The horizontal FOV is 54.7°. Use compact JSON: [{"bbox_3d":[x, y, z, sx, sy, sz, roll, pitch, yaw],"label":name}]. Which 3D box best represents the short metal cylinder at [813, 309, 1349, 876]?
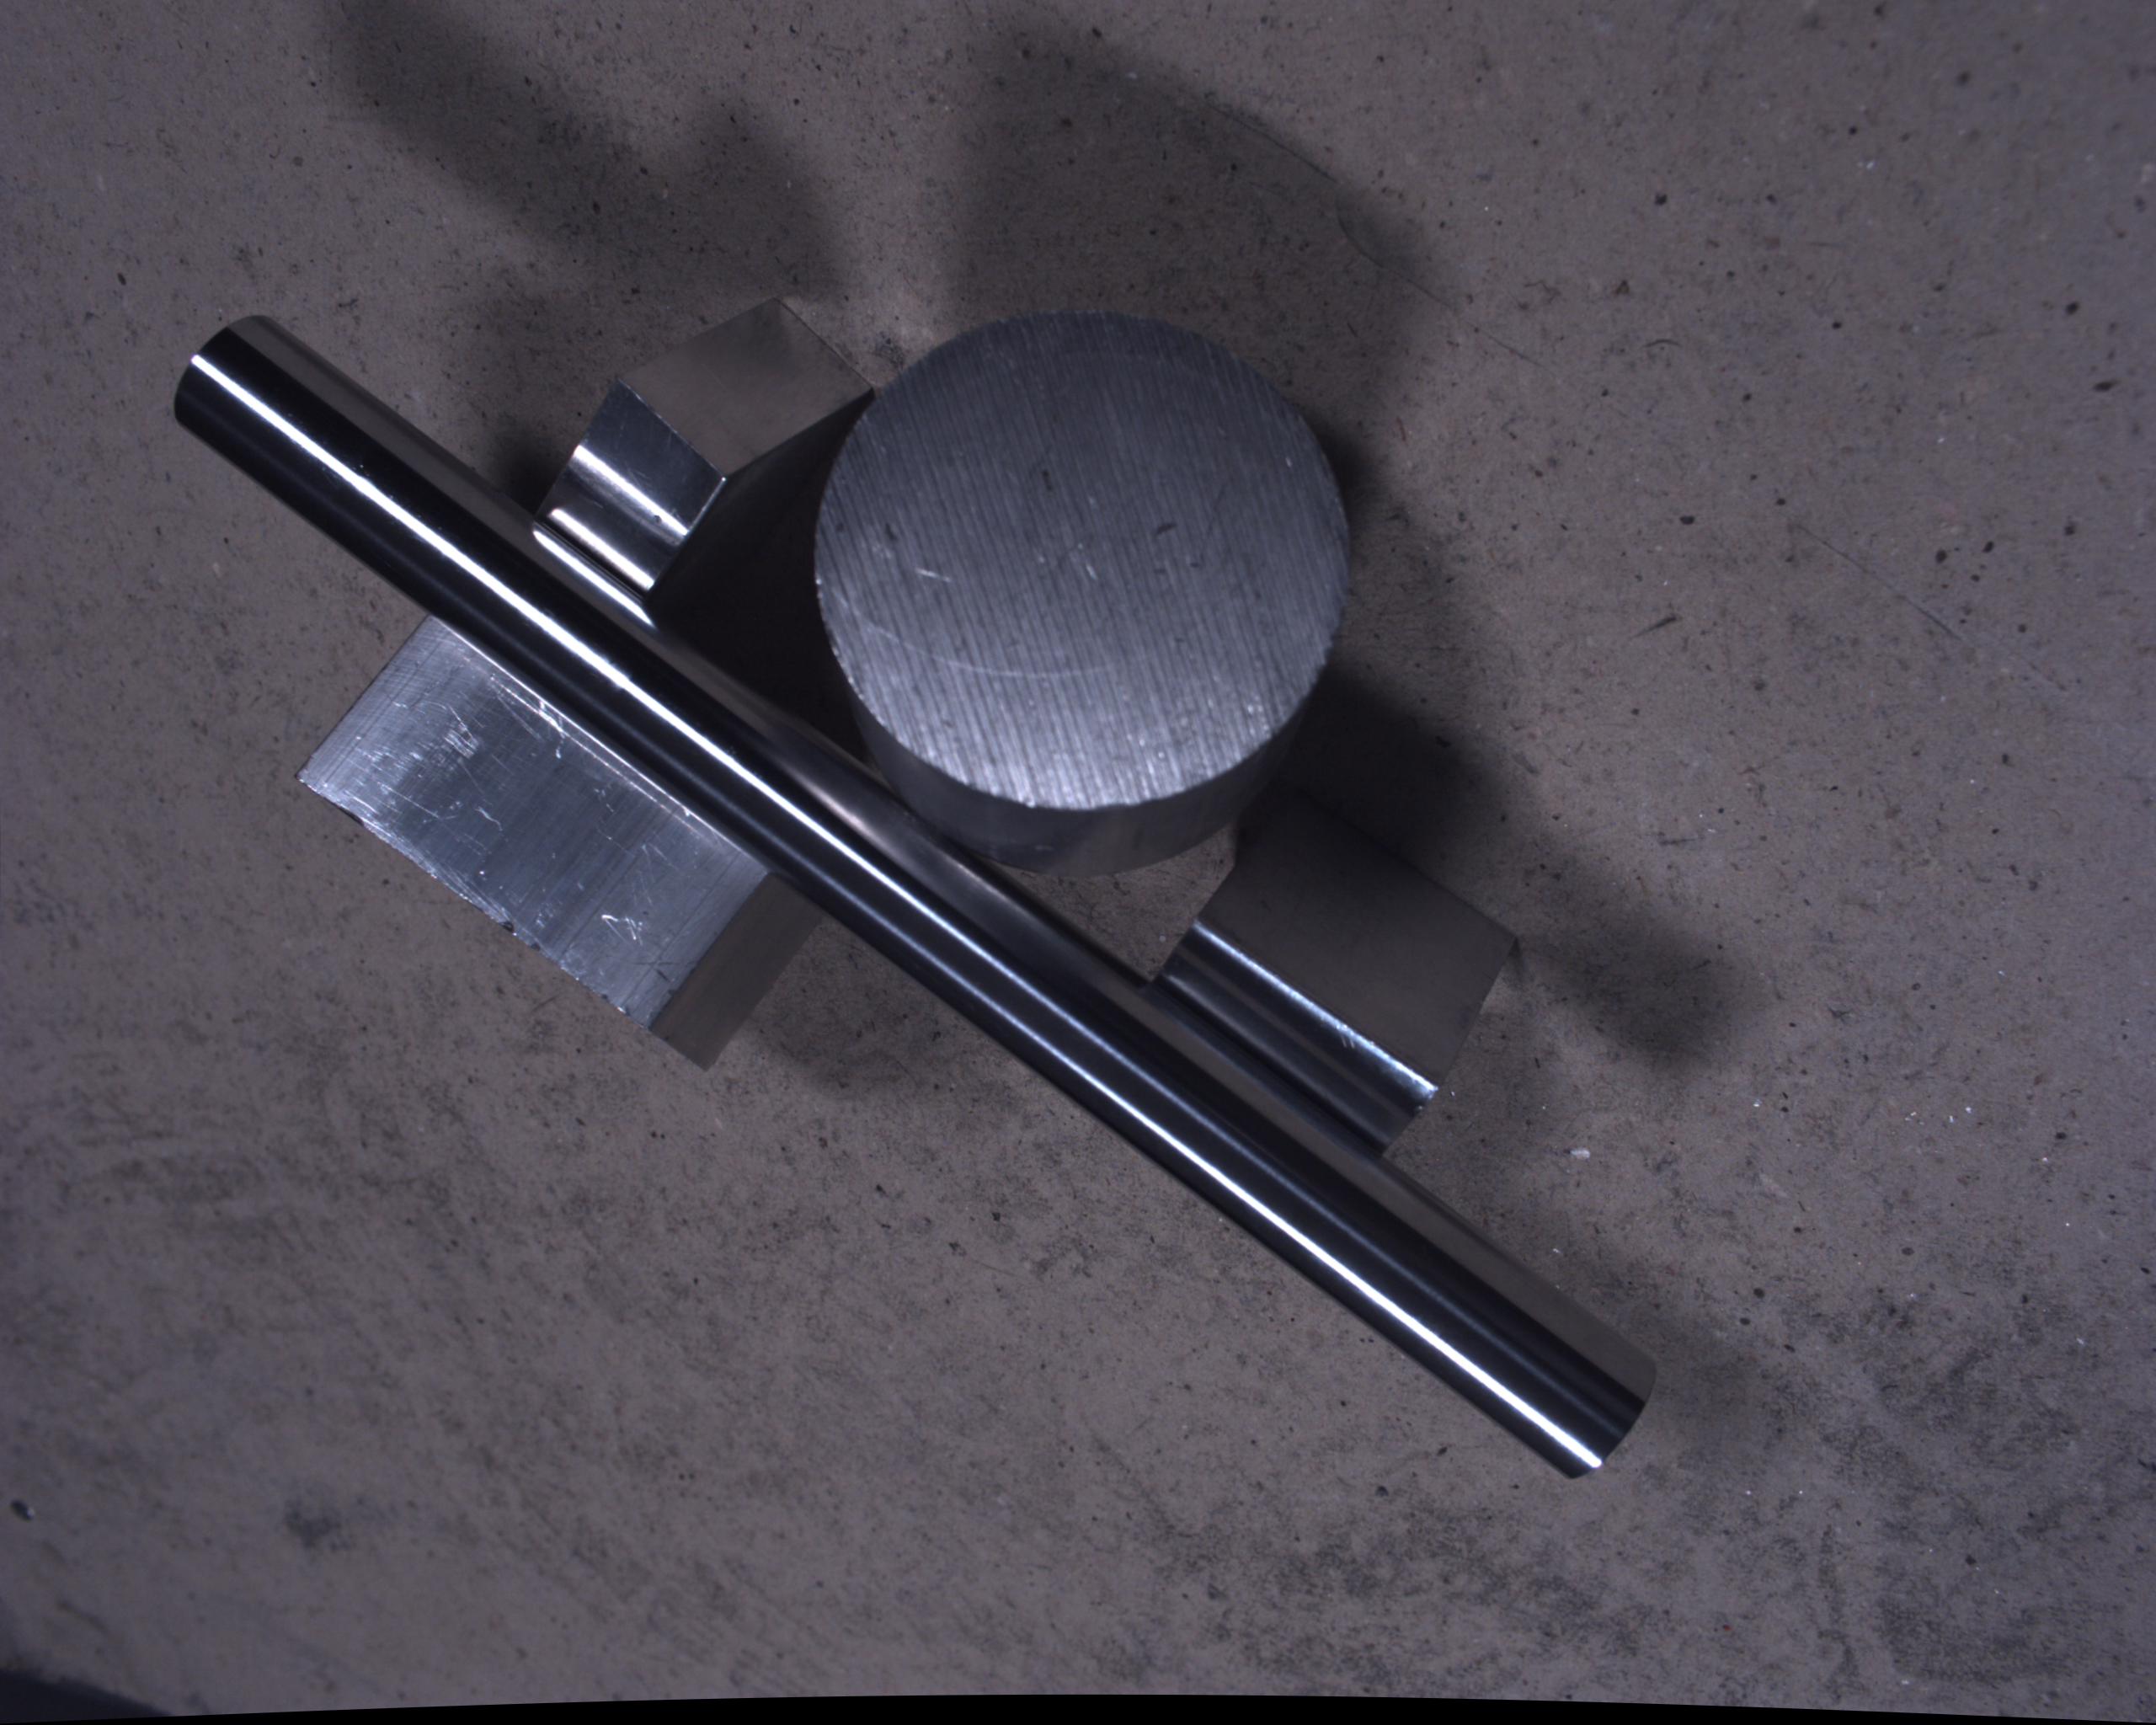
[{"bbox_3d":[0.000,-0.041,0.338,0.080,0.080,0.050,34,170,5],"label":"short metal cylinder"}]

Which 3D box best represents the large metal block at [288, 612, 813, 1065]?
[{"bbox_3d":[-0.096,-0.006,0.414,0.080,0.050,0.080,35,169,4],"label":"large metal block"}]

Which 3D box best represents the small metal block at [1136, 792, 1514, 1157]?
[{"bbox_3d":[0.045,0.021,0.377,0.050,0.050,0.025,35,129,4],"label":"small metal block"}]

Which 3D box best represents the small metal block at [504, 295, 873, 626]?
[{"bbox_3d":[-0.071,-0.072,0.384,0.025,0.050,0.050,44,129,-2],"label":"small metal block"}]

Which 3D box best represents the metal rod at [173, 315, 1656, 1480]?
[{"bbox_3d":[-0.030,0.004,0.361,0.300,0.025,0.025,37,129,3],"label":"metal rod"}]
